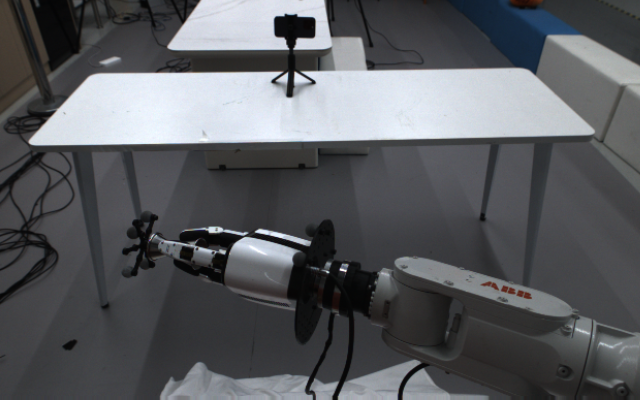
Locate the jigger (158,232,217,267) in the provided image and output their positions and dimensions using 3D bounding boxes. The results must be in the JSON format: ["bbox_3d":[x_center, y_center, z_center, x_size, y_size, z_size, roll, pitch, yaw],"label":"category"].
[{"bbox_3d":[-0.188,0.066,0.658,0.071,0.043,0.043,7,35,13],"label":"jigger"}]
